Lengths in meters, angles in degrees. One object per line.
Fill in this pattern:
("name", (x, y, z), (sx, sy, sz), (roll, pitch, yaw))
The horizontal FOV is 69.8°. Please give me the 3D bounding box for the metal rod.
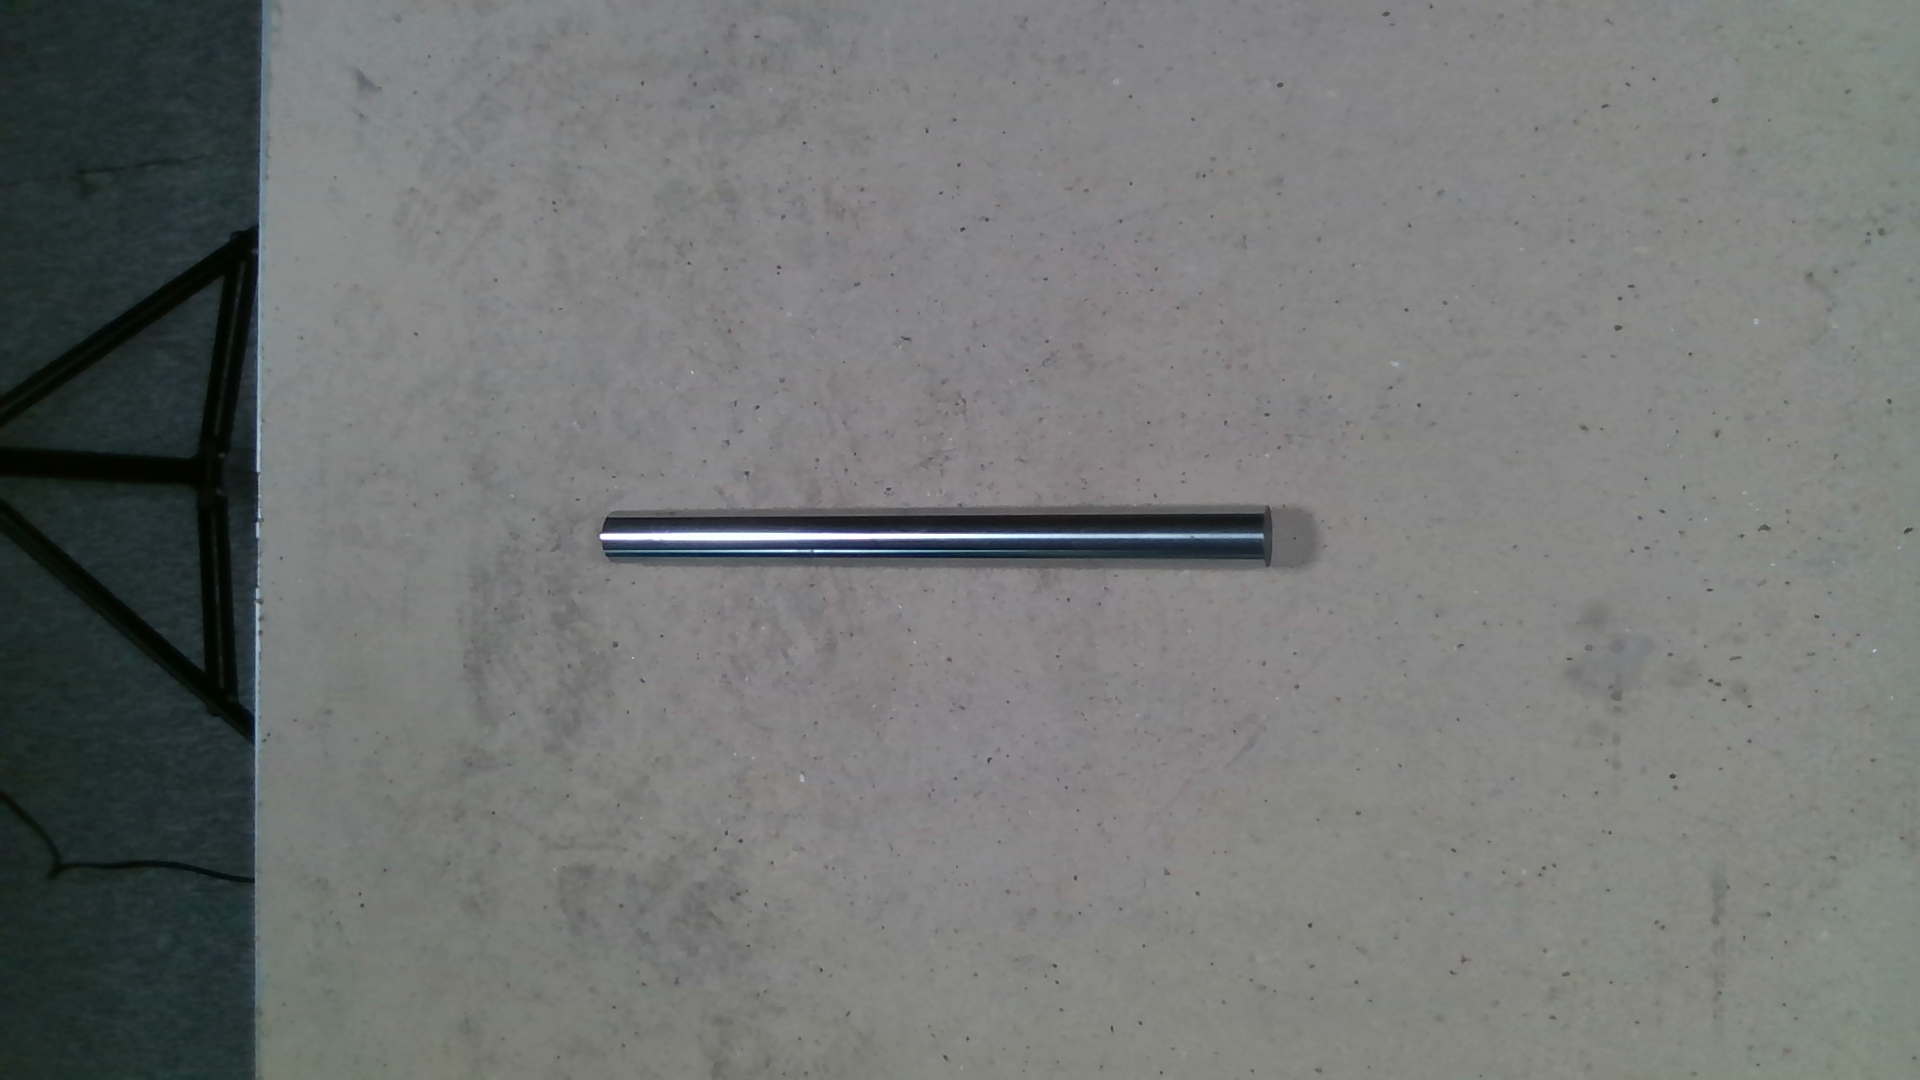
("metal rod", (-0.020, -0.002, 0.593), (0.300, 0.025, 0.025), (0, 90, 20))
